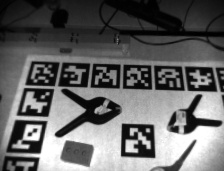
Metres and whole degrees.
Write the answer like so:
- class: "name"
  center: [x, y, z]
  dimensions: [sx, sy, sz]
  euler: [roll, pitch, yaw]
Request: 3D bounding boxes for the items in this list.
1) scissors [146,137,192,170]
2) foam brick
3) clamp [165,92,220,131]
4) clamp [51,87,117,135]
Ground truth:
- class: "scissors"
  center: [0.173, 0.223, 0.622]
  dimensions: [0.087, 0.016, 0.203]
  euler: [41, 68, 11]
- class: "foam brick"
  center: [-0.108, 0.193, 0.625]
  dimensions: [0.078, 0.052, 0.052]
  euler: [7, 64, 9]
- class: "clamp"
  center: [0.242, 0.094, 0.685]
  dimensions: [0.166, 0.037, 0.121]
  euler: [-24, 72, -11]
- class: "clamp"
  center: [-0.084, 0.076, 0.691]
  dimensions: [0.203, 0.037, 0.164]
  euler: [-1, 60, -1]
